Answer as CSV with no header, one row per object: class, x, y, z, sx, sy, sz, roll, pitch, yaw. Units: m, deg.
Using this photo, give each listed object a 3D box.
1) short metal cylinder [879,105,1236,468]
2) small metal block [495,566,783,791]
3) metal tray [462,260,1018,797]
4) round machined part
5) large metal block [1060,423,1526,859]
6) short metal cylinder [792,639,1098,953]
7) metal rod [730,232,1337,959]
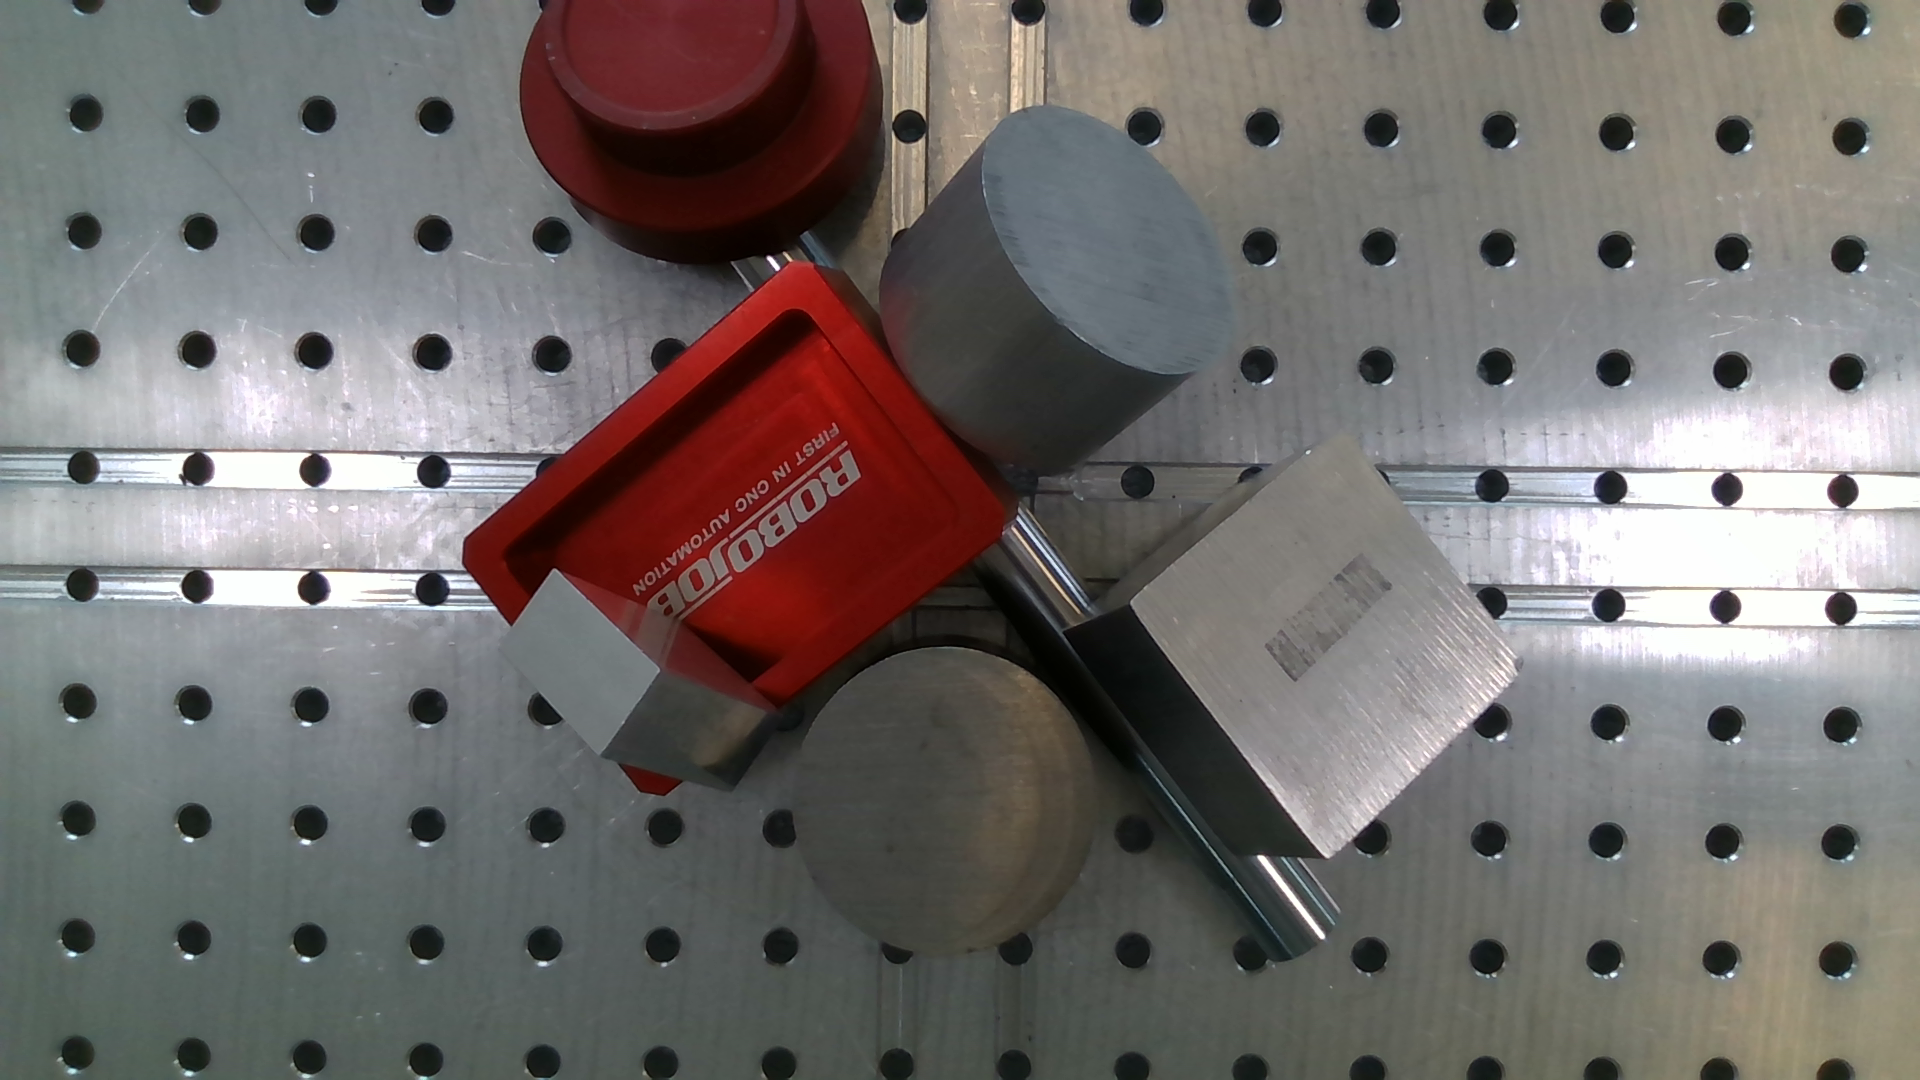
short metal cylinder,0.026,-0.066,0.365,0.080,0.050,0.080,18,55,-28
small metal block,-0.083,0.036,0.356,0.050,0.050,0.025,35,92,35
metal tray,-0.061,-0.002,0.381,0.130,0.030,0.090,-38,90,13
round machined part,-0.072,-0.129,0.376,0.098,0.042,0.098,-2,74,5
large metal block,0.089,0.029,0.374,0.080,0.050,0.080,-37,90,-20
short metal cylinder,-0.004,0.068,0.385,0.080,0.050,0.080,0,90,0
metal rod,0.007,-0.005,0.399,0.025,0.025,0.300,-38,90,0
